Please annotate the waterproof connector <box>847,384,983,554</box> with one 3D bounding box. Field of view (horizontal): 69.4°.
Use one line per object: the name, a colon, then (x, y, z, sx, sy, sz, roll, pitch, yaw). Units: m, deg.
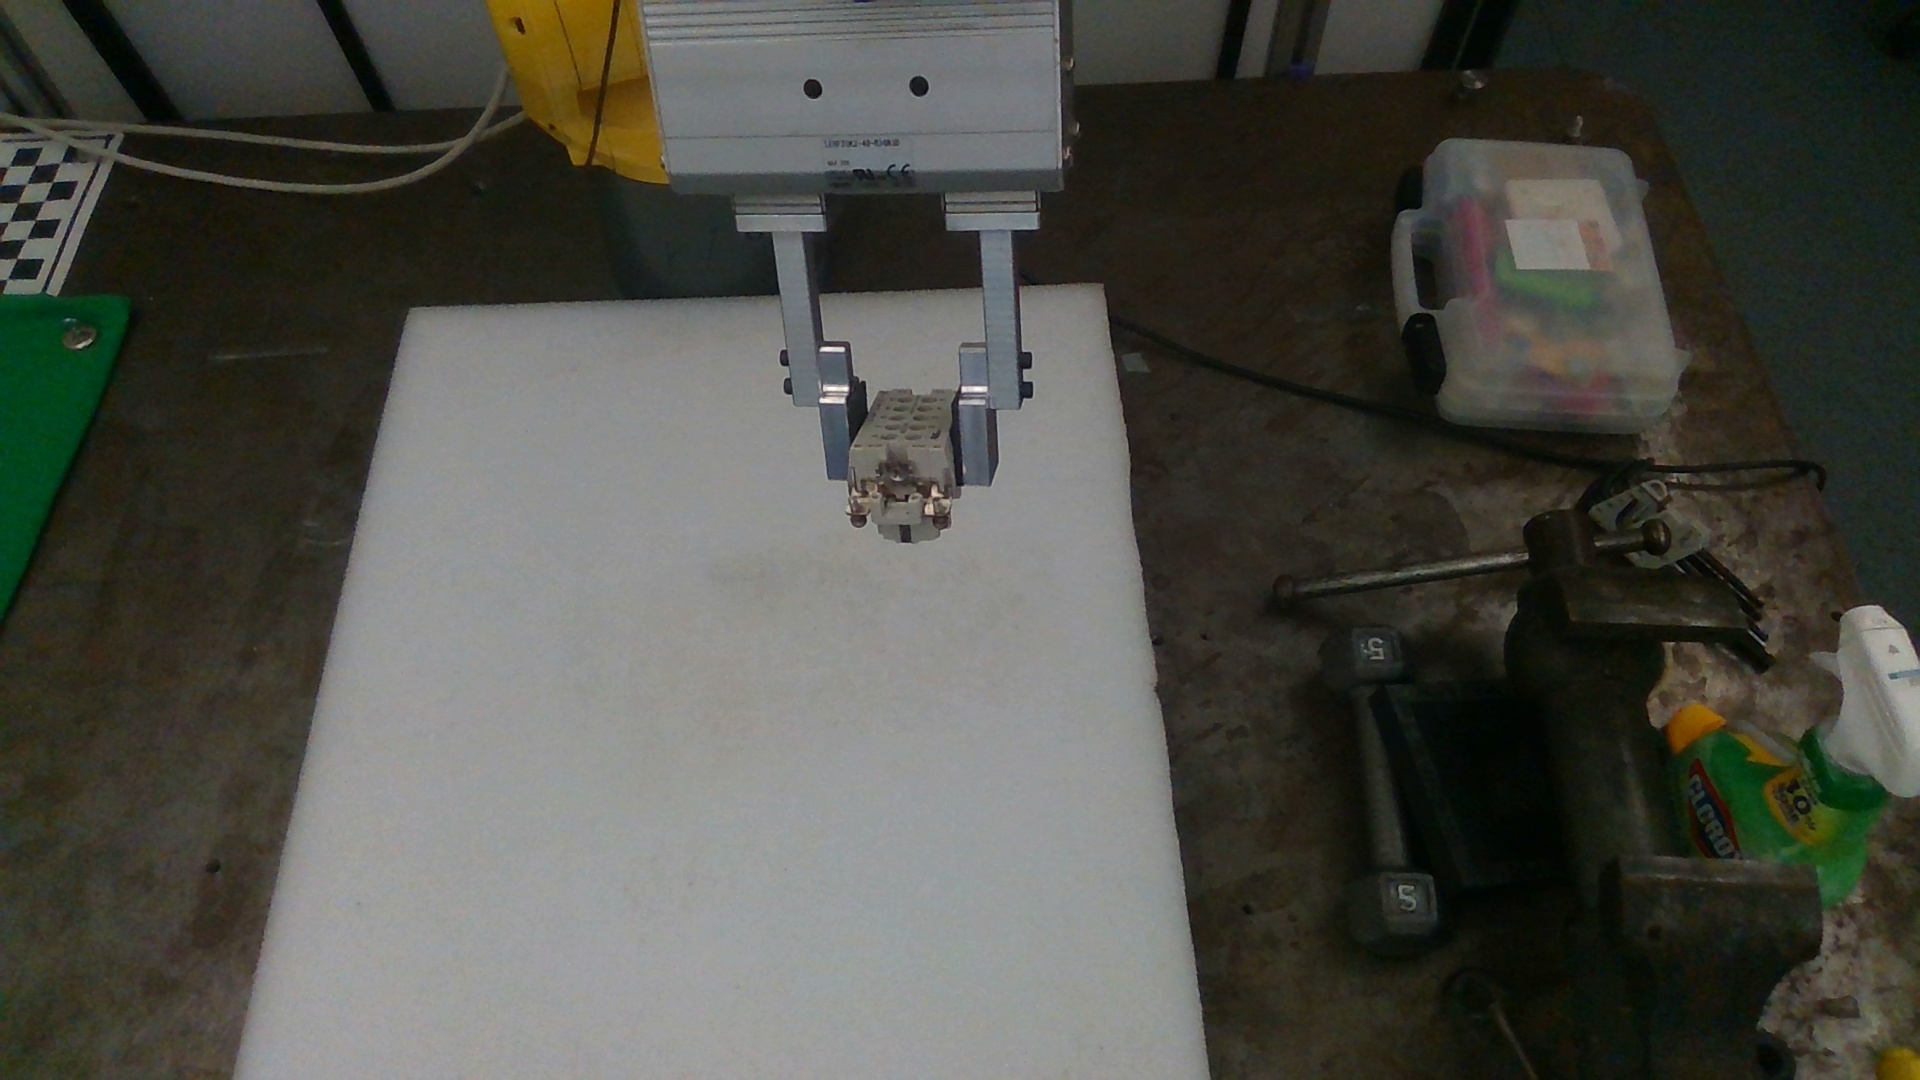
waterproof connector: (-0.014, -0.024, 0.461, 0.037, 0.038, 0.069, -3, 32, 11)
